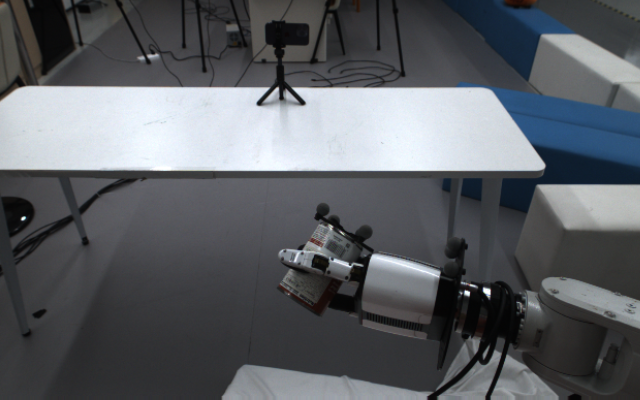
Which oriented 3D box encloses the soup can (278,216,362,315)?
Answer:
[{"bbox_3d":[0.002,0.087,0.614,0.067,0.067,0.101,27,78,32],"label":"soup can"}]
